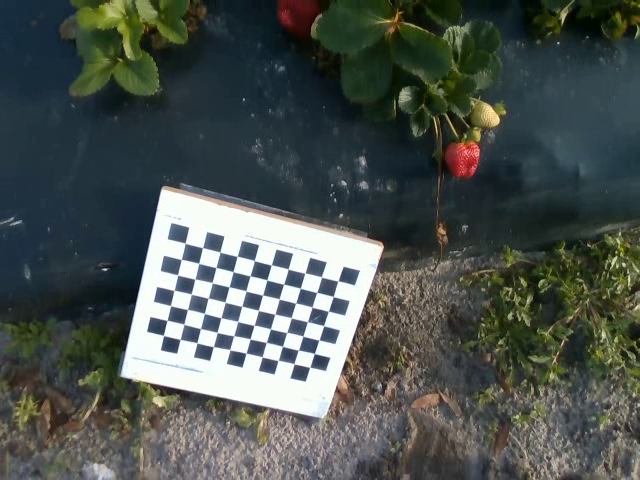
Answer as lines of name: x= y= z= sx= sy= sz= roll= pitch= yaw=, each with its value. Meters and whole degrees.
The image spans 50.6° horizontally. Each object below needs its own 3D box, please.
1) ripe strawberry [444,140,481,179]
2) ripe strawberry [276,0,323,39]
ripe strawberry: x=0.187 y=-0.103 z=0.865 sx=0.048 sy=0.050 sz=0.035 roll=-5 pitch=14 yaw=-1
ripe strawberry: x=-0.033 y=-0.304 z=0.884 sx=0.071 sy=0.058 sz=0.057 roll=16 pitch=19 yaw=-35
